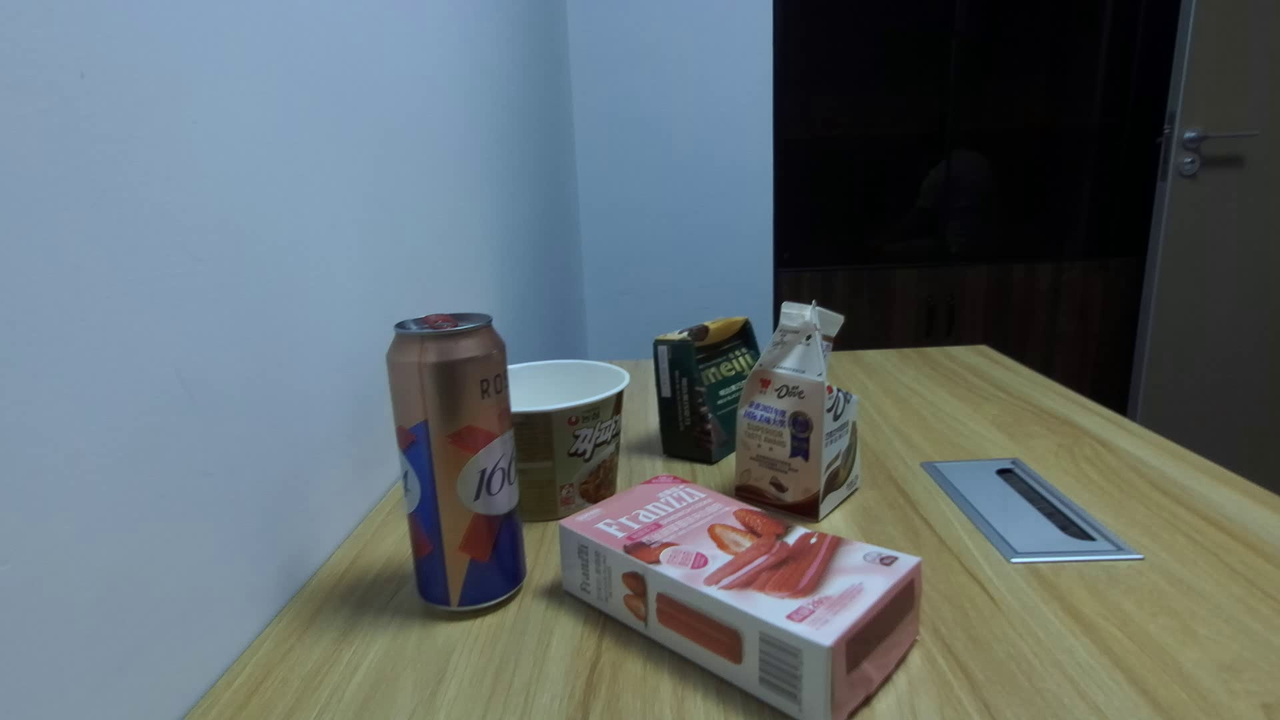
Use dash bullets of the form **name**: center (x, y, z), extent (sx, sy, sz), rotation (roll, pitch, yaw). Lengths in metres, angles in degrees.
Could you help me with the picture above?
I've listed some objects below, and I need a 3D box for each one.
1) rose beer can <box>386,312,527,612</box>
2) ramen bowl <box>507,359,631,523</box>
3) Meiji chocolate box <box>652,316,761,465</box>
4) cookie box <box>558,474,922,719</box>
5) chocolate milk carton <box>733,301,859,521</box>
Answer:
- **rose beer can**: center (-0.107, 0.061, 0.419), extent (0.068, 0.169, 0.068), rotation (-1, 13, 1)
- **ramen bowl**: center (-0.076, 0.061, 0.564), extent (0.140, 0.095, 0.140), rotation (-2, 15, 1)
- **Meiji chocolate box**: center (0.069, 0.024, 0.651), extent (0.051, 0.117, 0.118), rotation (-3, 9, 40)
- **cookie box**: center (0.053, 0.120, 0.397), extent (0.186, 0.049, 0.105), rotation (11, 19, 43)
- **chocolate milk carton**: center (0.120, 0.029, 0.524), extent (0.073, 0.155, 0.076), rotation (11, 19, 37)
